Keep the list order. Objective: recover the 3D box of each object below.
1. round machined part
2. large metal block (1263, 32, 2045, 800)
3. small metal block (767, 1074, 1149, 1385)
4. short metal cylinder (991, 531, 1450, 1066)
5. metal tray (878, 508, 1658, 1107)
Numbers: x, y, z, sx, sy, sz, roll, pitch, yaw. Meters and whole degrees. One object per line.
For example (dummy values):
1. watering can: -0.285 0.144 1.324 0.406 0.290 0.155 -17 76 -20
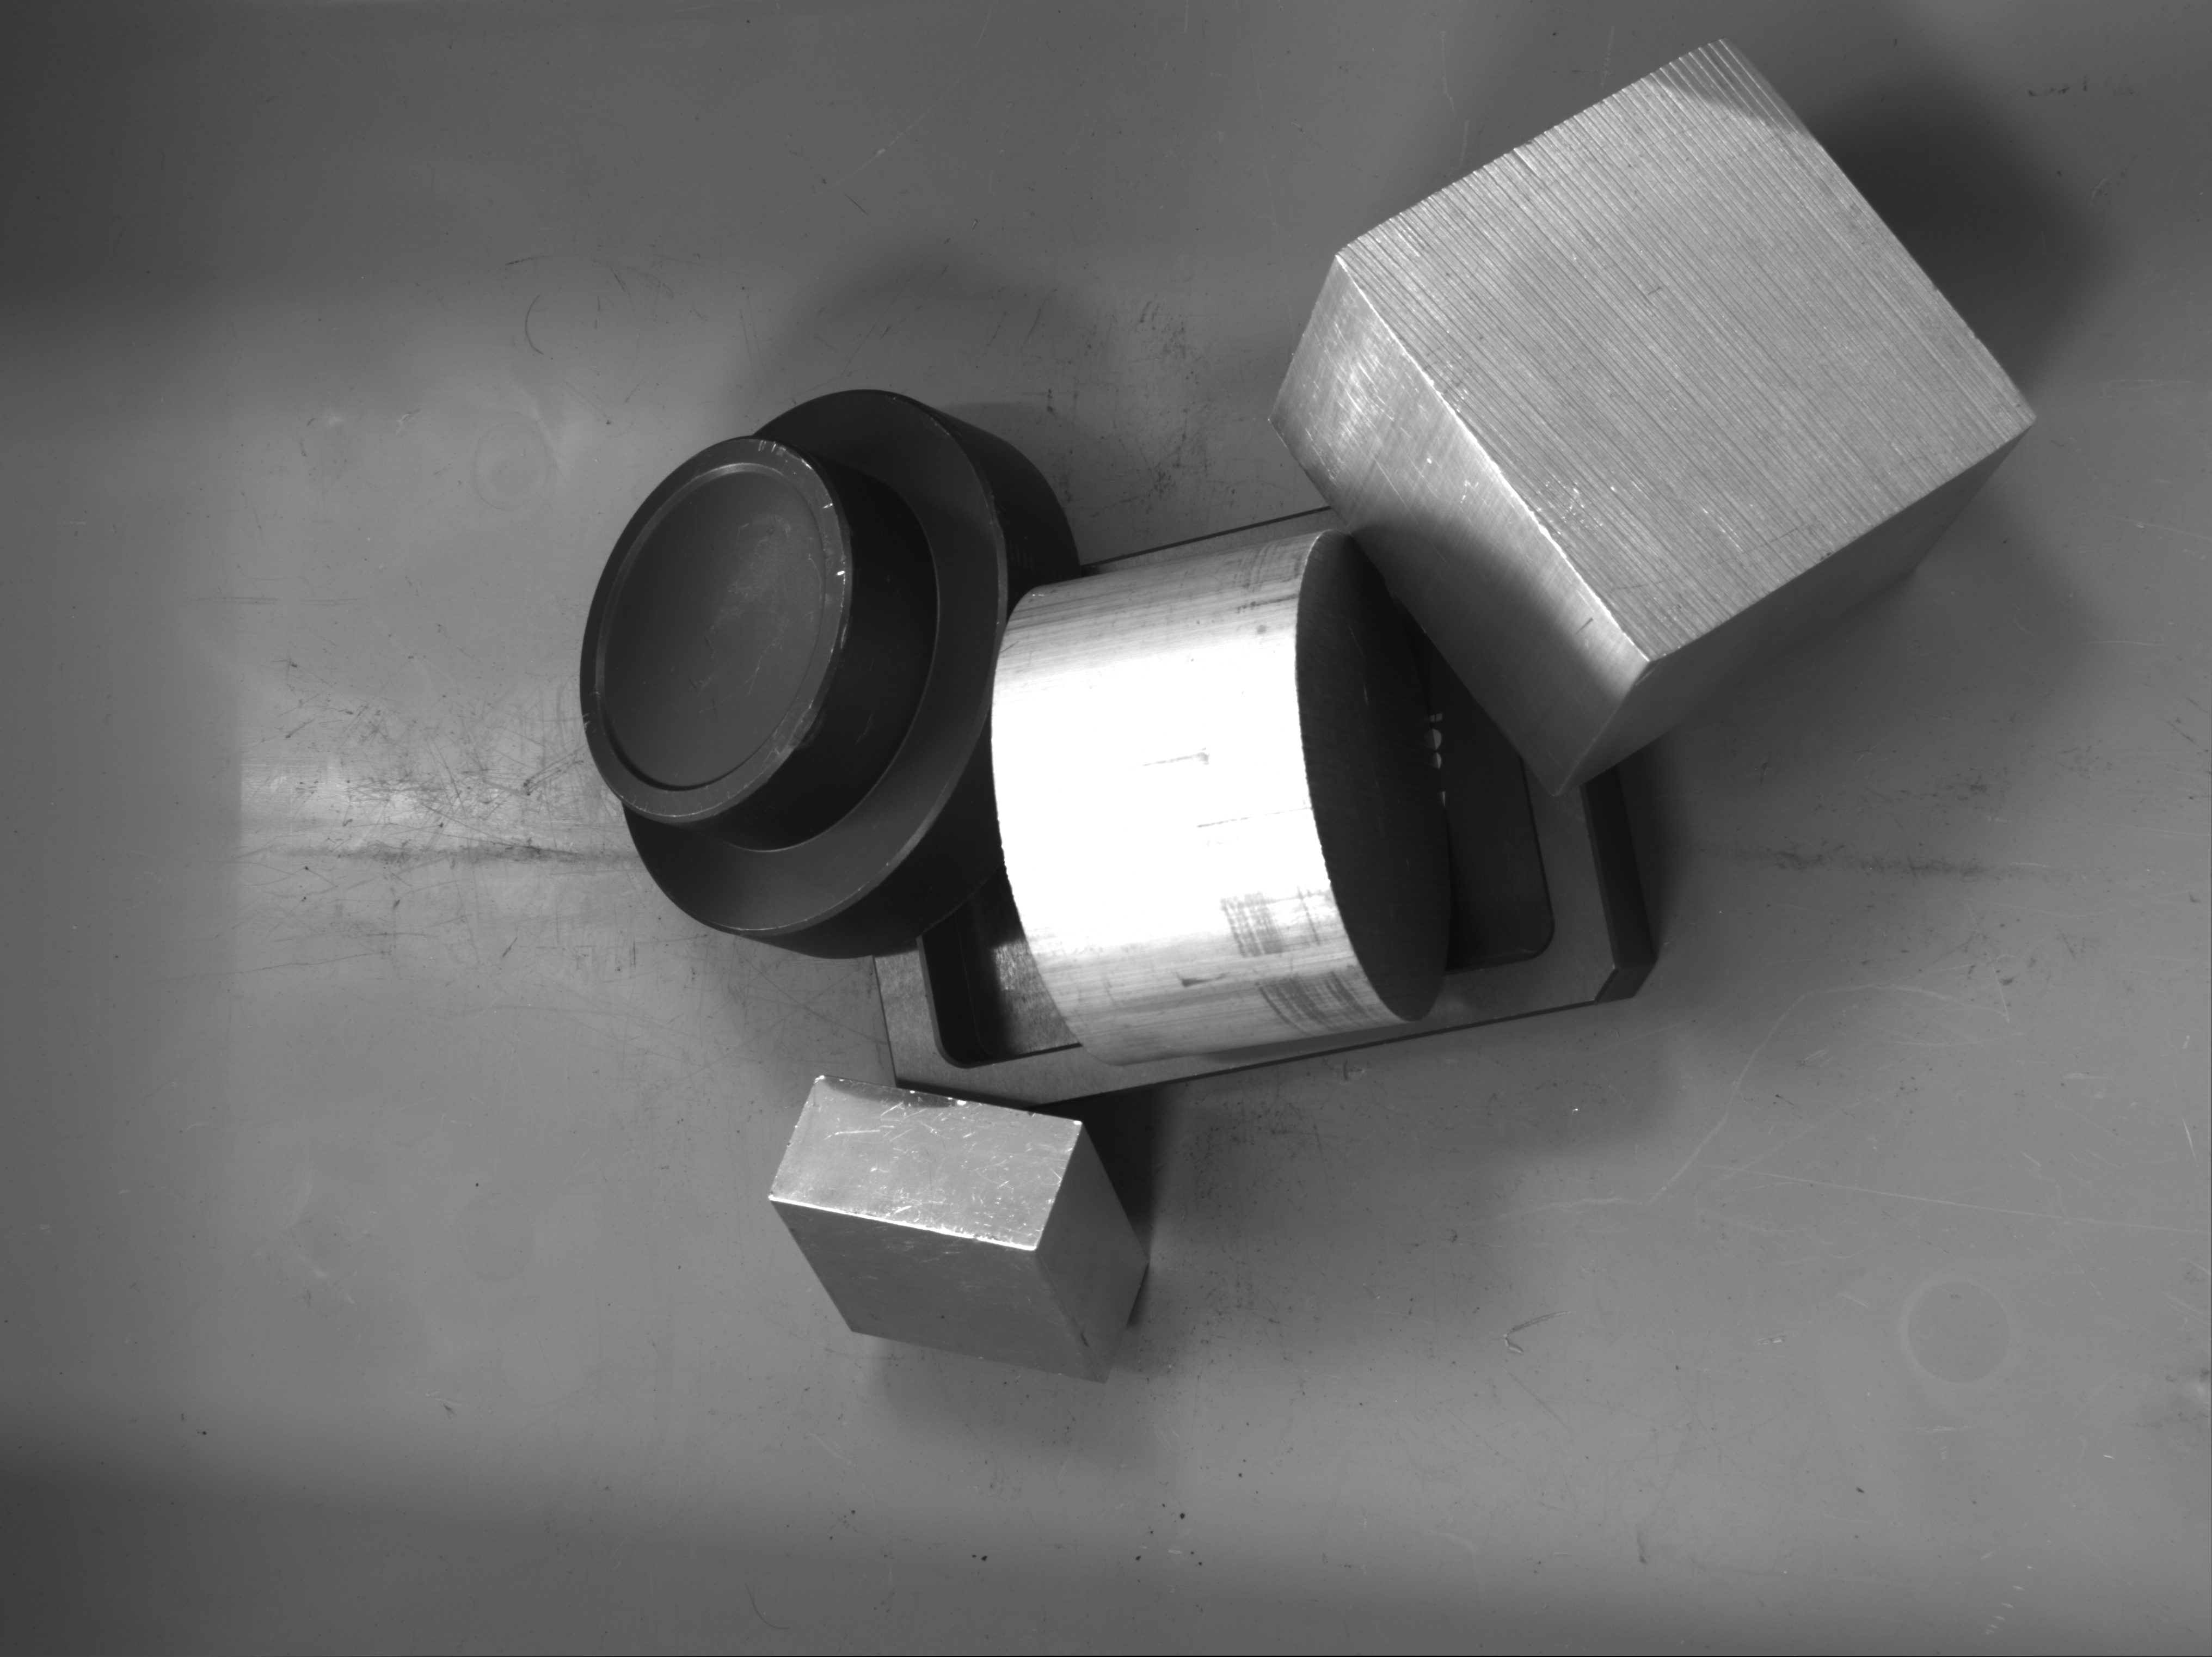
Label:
1. round machined part: -0.054 -0.029 0.636 0.098 0.042 0.098 -16 65 40
2. large metal block: 0.085 -0.065 0.580 0.080 0.050 0.080 -32 77 -20
3. small metal block: -0.025 0.070 0.639 0.050 0.050 0.025 8 58 21
4. short metal cylinder: 0.020 -0.004 0.596 0.050 0.080 0.080 -10 87 19
5. metal tray: 0.022 -0.003 0.636 0.130 0.030 0.090 -12 86 20
